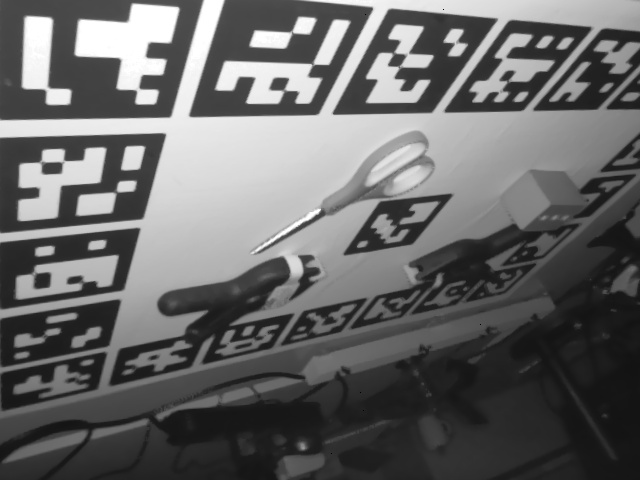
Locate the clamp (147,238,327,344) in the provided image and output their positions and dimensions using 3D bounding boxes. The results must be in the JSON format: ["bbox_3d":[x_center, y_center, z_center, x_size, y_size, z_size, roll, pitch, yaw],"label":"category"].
[{"bbox_3d":[-0.074,0.041,0.686,0.166,0.036,0.121,-22,143,-8],"label":"clamp"}]

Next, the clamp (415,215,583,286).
[{"bbox_3d":[0.207,0.020,0.861,0.206,0.037,0.163,-8,149,-27],"label":"clamp"}]

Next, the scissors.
[{"bbox_3d":[0.030,-0.055,0.619,0.201,0.016,0.088,-32,142,13],"label":"scissors"}]

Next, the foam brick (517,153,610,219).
[{"bbox_3d":[0.271,-0.060,0.773,0.079,0.051,0.052,-5,143,-40],"label":"foam brick"}]
